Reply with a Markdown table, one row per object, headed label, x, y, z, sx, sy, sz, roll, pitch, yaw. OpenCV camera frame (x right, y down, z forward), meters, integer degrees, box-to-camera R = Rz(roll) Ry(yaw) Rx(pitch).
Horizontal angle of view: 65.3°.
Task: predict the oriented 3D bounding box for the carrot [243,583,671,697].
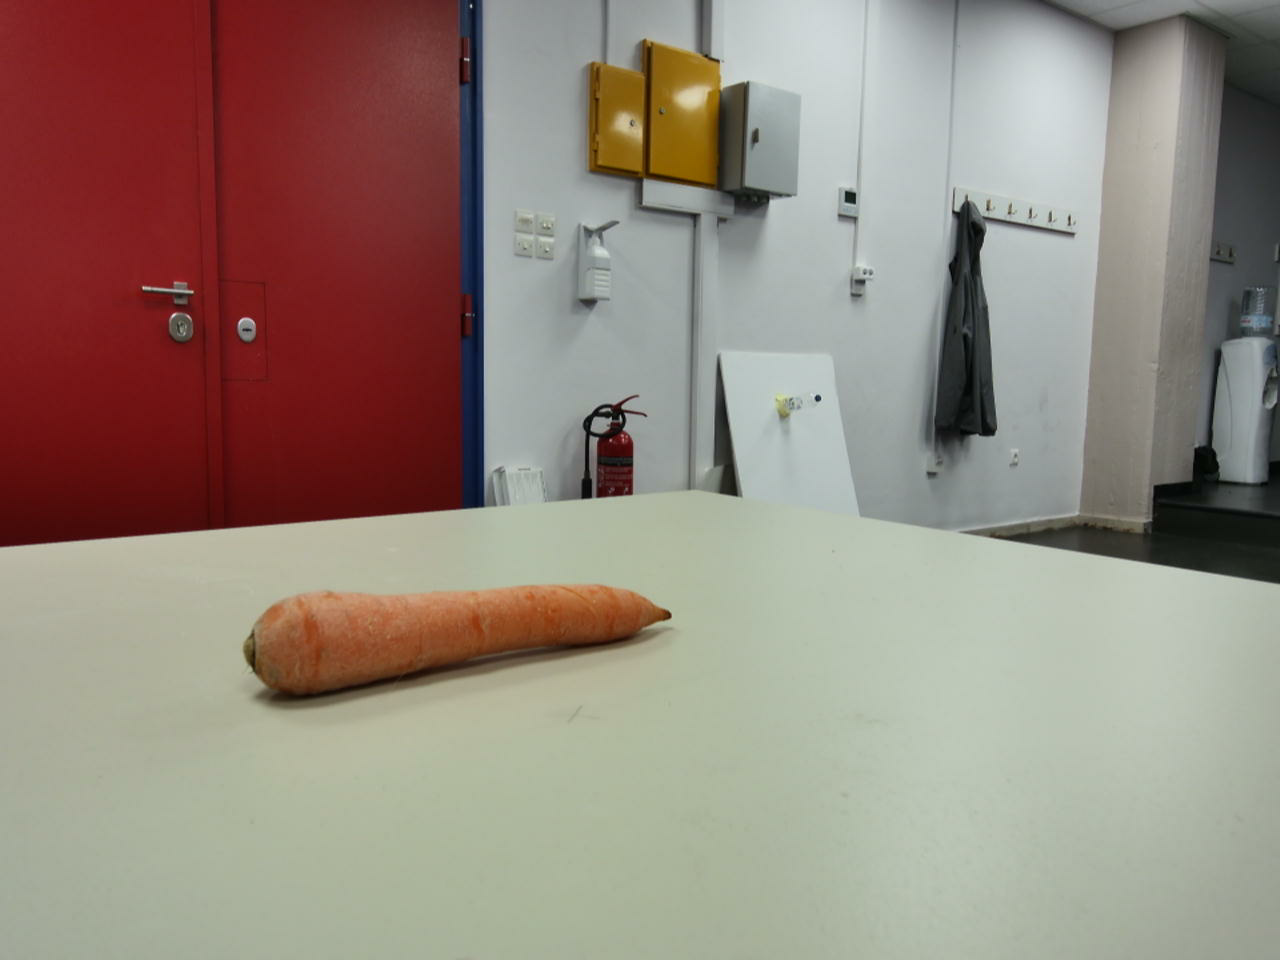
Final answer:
| label | x | y | z | sx | sy | sz | roll | pitch | yaw |
| --- | --- | --- | --- | --- | --- | --- | --- | --- | --- |
| carrot | -0.066 | 0.058 | 0.426 | 0.196 | 0.041 | 0.039 | -5 | 6 | -37 |
